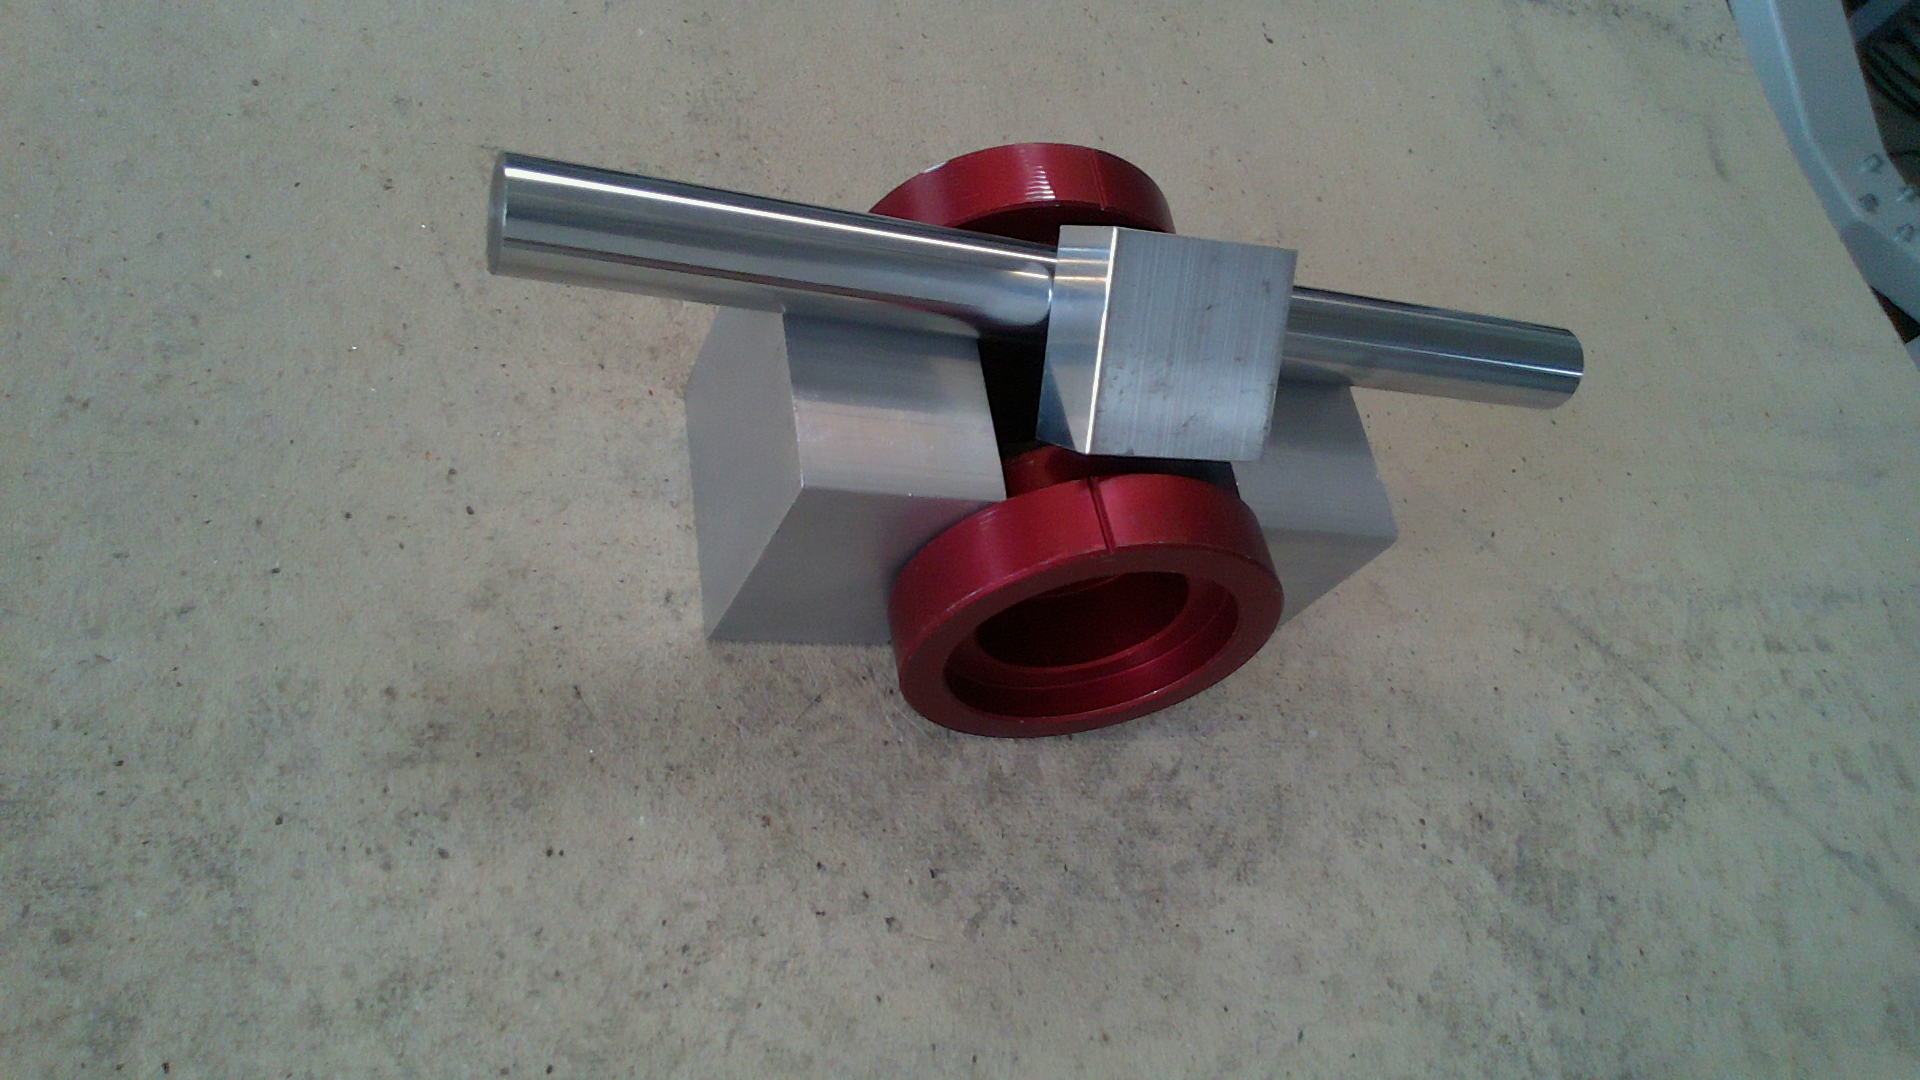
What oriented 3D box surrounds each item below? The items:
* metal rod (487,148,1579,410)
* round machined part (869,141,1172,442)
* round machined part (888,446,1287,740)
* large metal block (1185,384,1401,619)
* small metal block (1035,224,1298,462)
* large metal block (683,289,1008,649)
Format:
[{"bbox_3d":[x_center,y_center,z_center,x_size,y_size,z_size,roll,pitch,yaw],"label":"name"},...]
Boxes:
[{"bbox_3d":[0.041,-0.059,0.345,0.301,0.025,0.025,3,60,-27],"label":"metal rod"},{"bbox_3d":[0.016,-0.063,0.390,0.098,0.098,0.042,4,61,-26],"label":"round machined part"},{"bbox_3d":[0.030,0.011,0.352,0.098,0.098,0.042,5,54,-26],"label":"round machined part"},{"bbox_3d":[0.072,-0.018,0.405,0.050,0.080,0.080,4,60,-26],"label":"large metal block"},{"bbox_3d":[0.048,-0.046,0.323,0.050,0.025,0.050,1,102,-26],"label":"small metal block"},{"bbox_3d":[-0.034,-0.026,0.352,0.050,0.080,0.080,4,60,-26],"label":"large metal block"}]
